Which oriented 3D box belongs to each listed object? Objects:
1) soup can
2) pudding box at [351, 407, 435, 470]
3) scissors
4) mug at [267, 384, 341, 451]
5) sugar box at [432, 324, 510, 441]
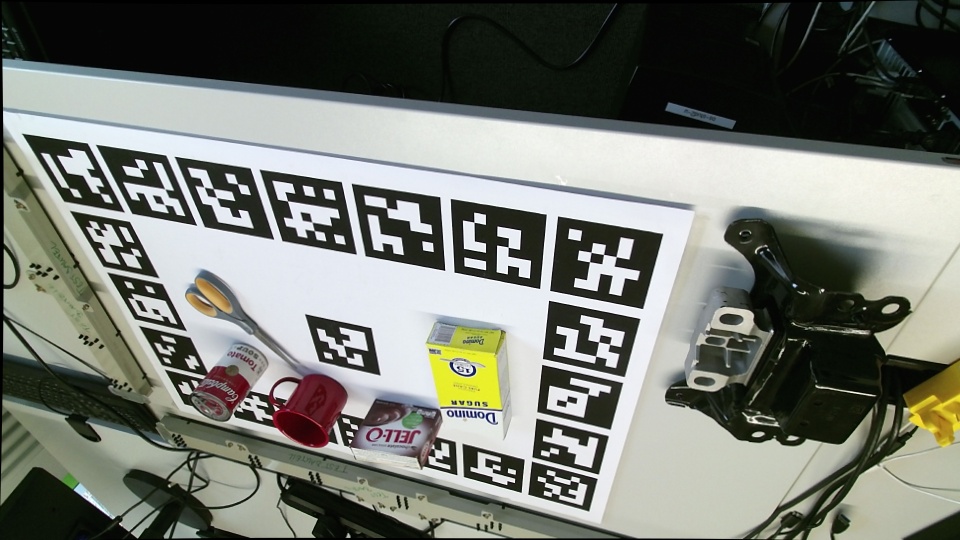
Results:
[{"bbox_3d":[-0.388,0.174,0.830,0.068,0.102,0.068,9,129,12],"label":"soup can"},{"bbox_3d":[-0.134,0.252,0.794,0.114,0.090,0.038,2,119,18],"label":"pudding box"},{"bbox_3d":[-0.356,0.082,0.794,0.088,0.016,0.203,-34,108,25],"label":"scissors"},{"bbox_3d":[-0.276,0.224,0.832,0.093,0.081,0.117,-25,115,29],"label":"mug"},{"bbox_3d":[-0.009,0.154,0.715,0.093,0.045,0.176,6,125,12],"label":"sugar box"}]
